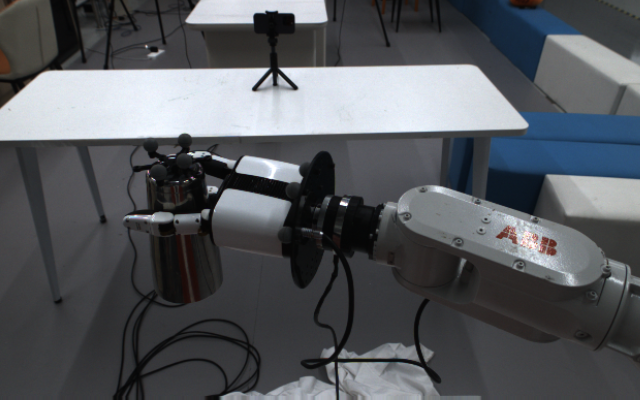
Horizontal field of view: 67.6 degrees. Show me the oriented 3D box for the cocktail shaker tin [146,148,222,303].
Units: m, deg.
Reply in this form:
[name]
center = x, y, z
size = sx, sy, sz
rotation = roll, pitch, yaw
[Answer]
[cocktail shaker tin]
center = -0.172, 0.036, 0.610
size = 0.093, 0.170, 0.093
rotation = 2, 33, -1
